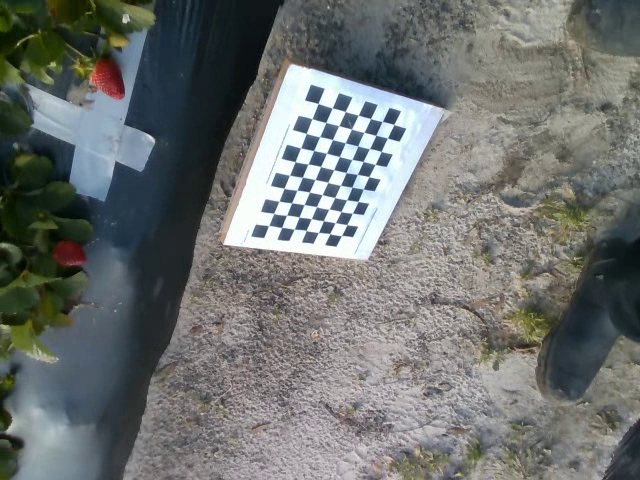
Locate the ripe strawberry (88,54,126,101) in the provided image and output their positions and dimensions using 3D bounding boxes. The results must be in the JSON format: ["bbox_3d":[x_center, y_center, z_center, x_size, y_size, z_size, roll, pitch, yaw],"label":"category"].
[{"bbox_3d":[-0.120,-0.089,0.366,0.023,0.026,0.021,-38,7,40],"label":"ripe strawberry"}]

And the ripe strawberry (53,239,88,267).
[{"bbox_3d":[-0.163,0.009,0.418,0.022,0.021,0.018,22,-43,-6],"label":"ripe strawberry"}]
